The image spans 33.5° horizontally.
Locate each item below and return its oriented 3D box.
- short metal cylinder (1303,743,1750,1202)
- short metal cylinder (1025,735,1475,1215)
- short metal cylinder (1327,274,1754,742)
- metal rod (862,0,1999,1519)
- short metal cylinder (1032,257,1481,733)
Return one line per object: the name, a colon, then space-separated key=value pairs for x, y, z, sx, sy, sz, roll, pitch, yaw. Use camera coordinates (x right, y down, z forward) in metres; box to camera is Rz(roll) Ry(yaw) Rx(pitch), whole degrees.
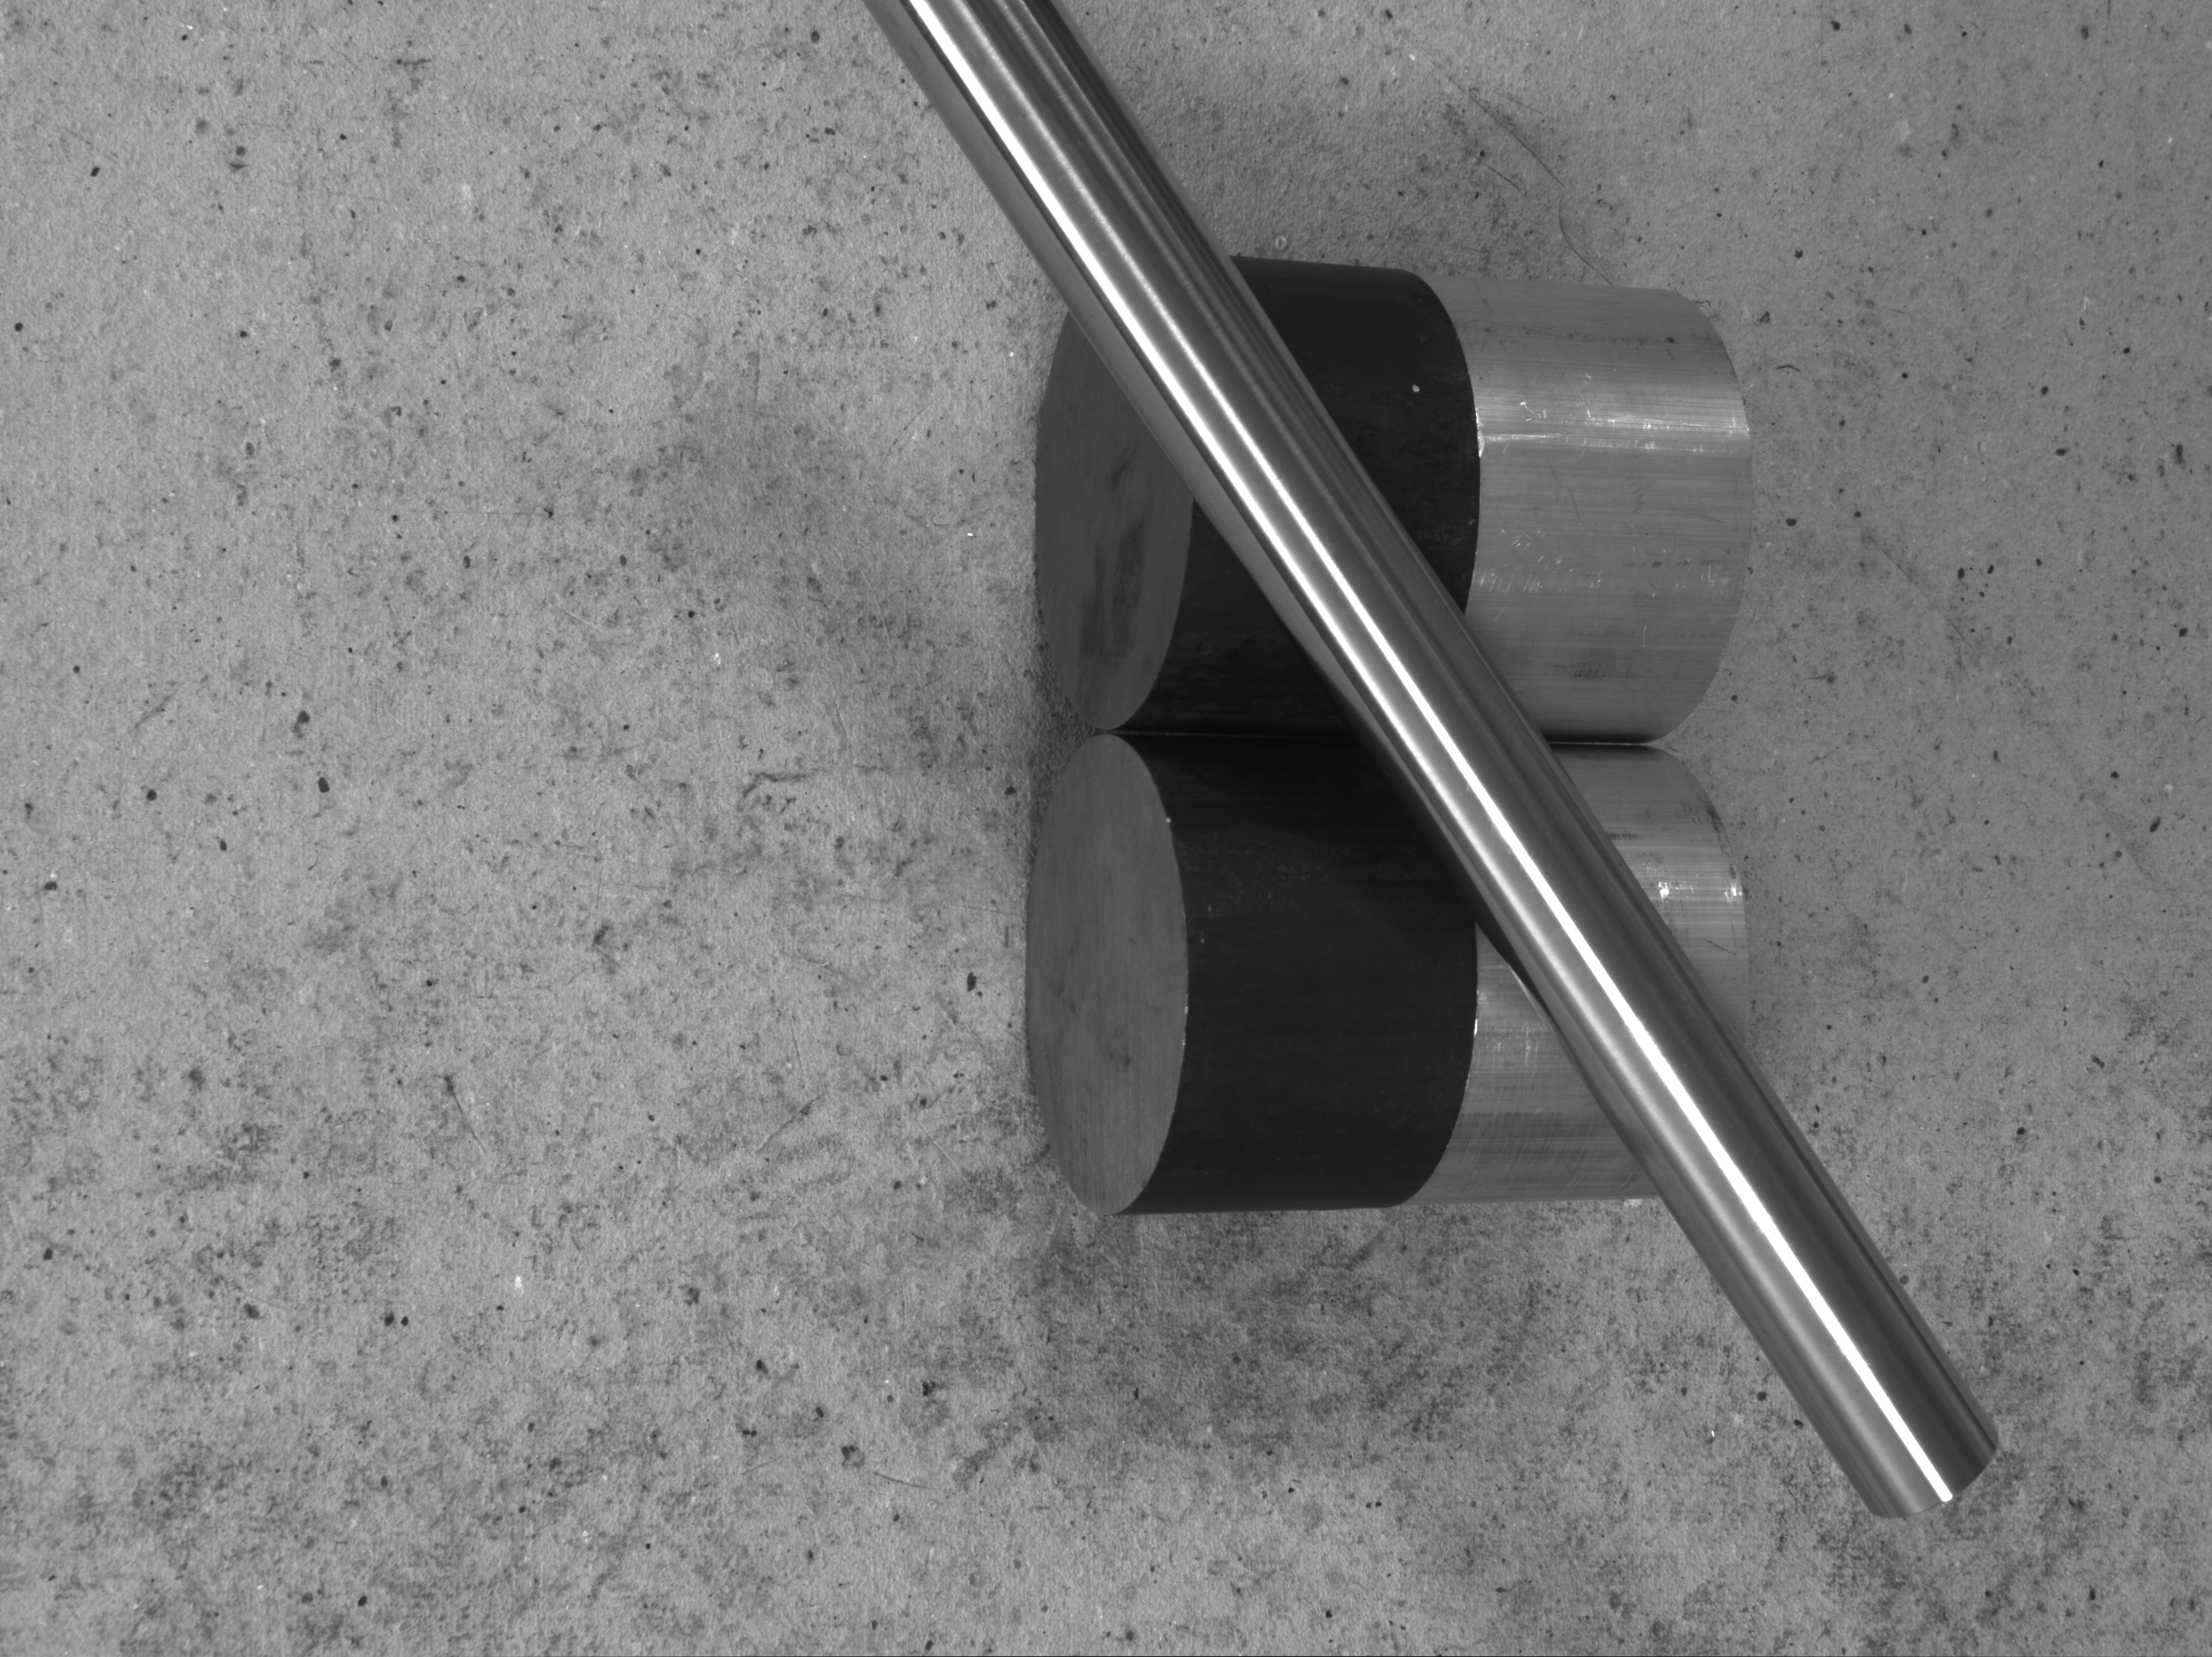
short metal cylinder: x=0.070 y=0.025 z=0.640 sx=0.050 sy=0.080 sz=0.080 roll=1 pitch=90 yaw=-20
short metal cylinder: x=0.023 y=0.025 z=0.623 sx=0.050 sy=0.080 sz=0.080 roll=1 pitch=90 yaw=-20
short metal cylinder: x=0.071 y=-0.055 z=0.640 sx=0.050 sy=0.080 sz=0.080 roll=1 pitch=90 yaw=-20
metal rod: x=0.053 y=-0.015 z=0.578 sx=0.025 sy=0.025 sz=0.300 roll=-38 pitch=102 yaw=-16
short metal cylinder: x=0.024 y=-0.056 z=0.623 sx=0.050 sy=0.080 sz=0.080 roll=1 pitch=90 yaw=-20
